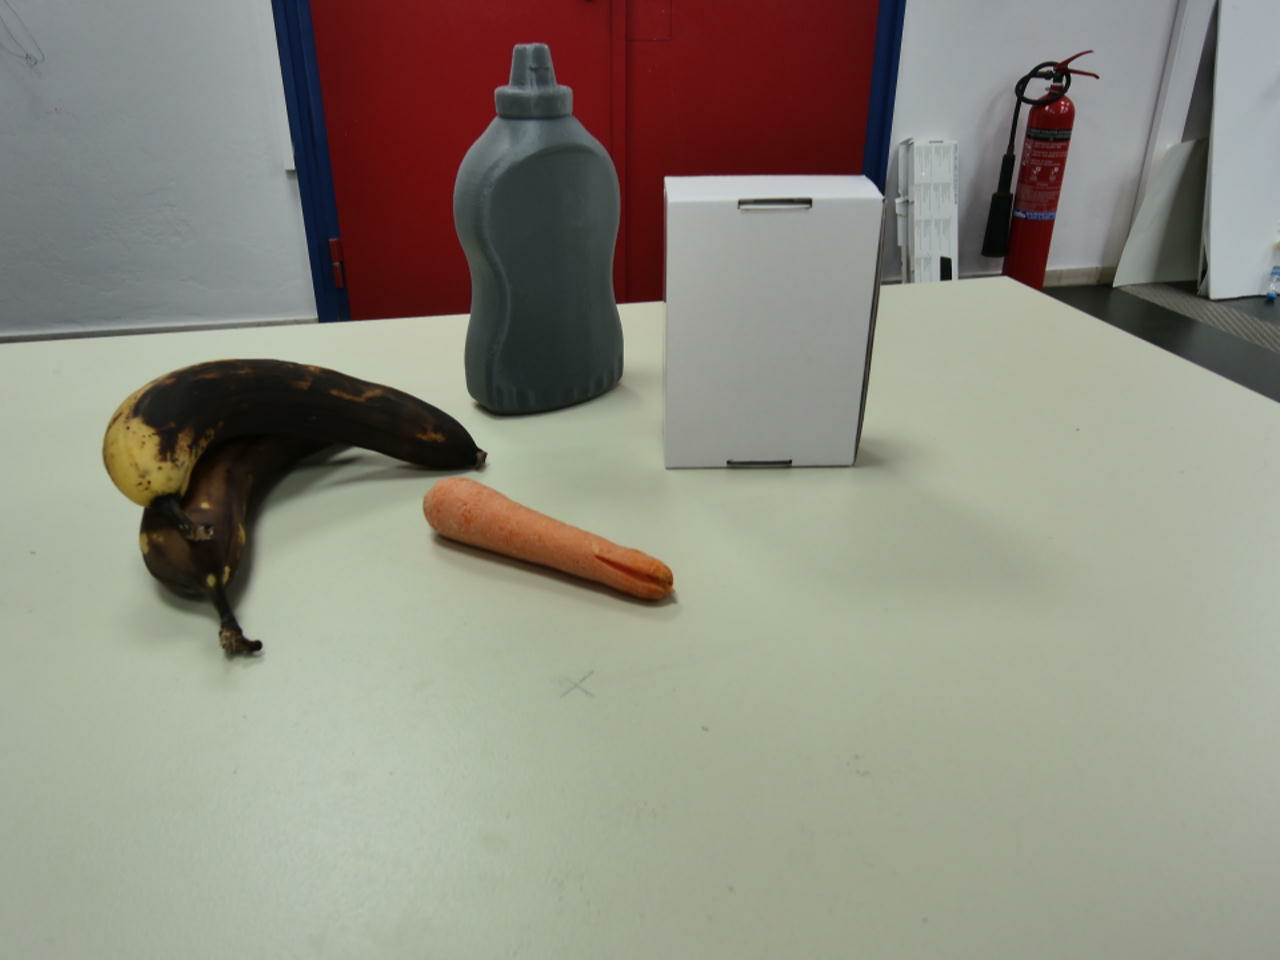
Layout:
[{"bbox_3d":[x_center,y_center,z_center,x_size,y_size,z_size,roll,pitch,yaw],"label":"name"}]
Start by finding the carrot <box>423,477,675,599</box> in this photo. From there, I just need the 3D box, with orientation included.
[{"bbox_3d":[-0.045,0.025,0.457,0.136,0.032,0.030,15,28,29],"label":"carrot"}]
